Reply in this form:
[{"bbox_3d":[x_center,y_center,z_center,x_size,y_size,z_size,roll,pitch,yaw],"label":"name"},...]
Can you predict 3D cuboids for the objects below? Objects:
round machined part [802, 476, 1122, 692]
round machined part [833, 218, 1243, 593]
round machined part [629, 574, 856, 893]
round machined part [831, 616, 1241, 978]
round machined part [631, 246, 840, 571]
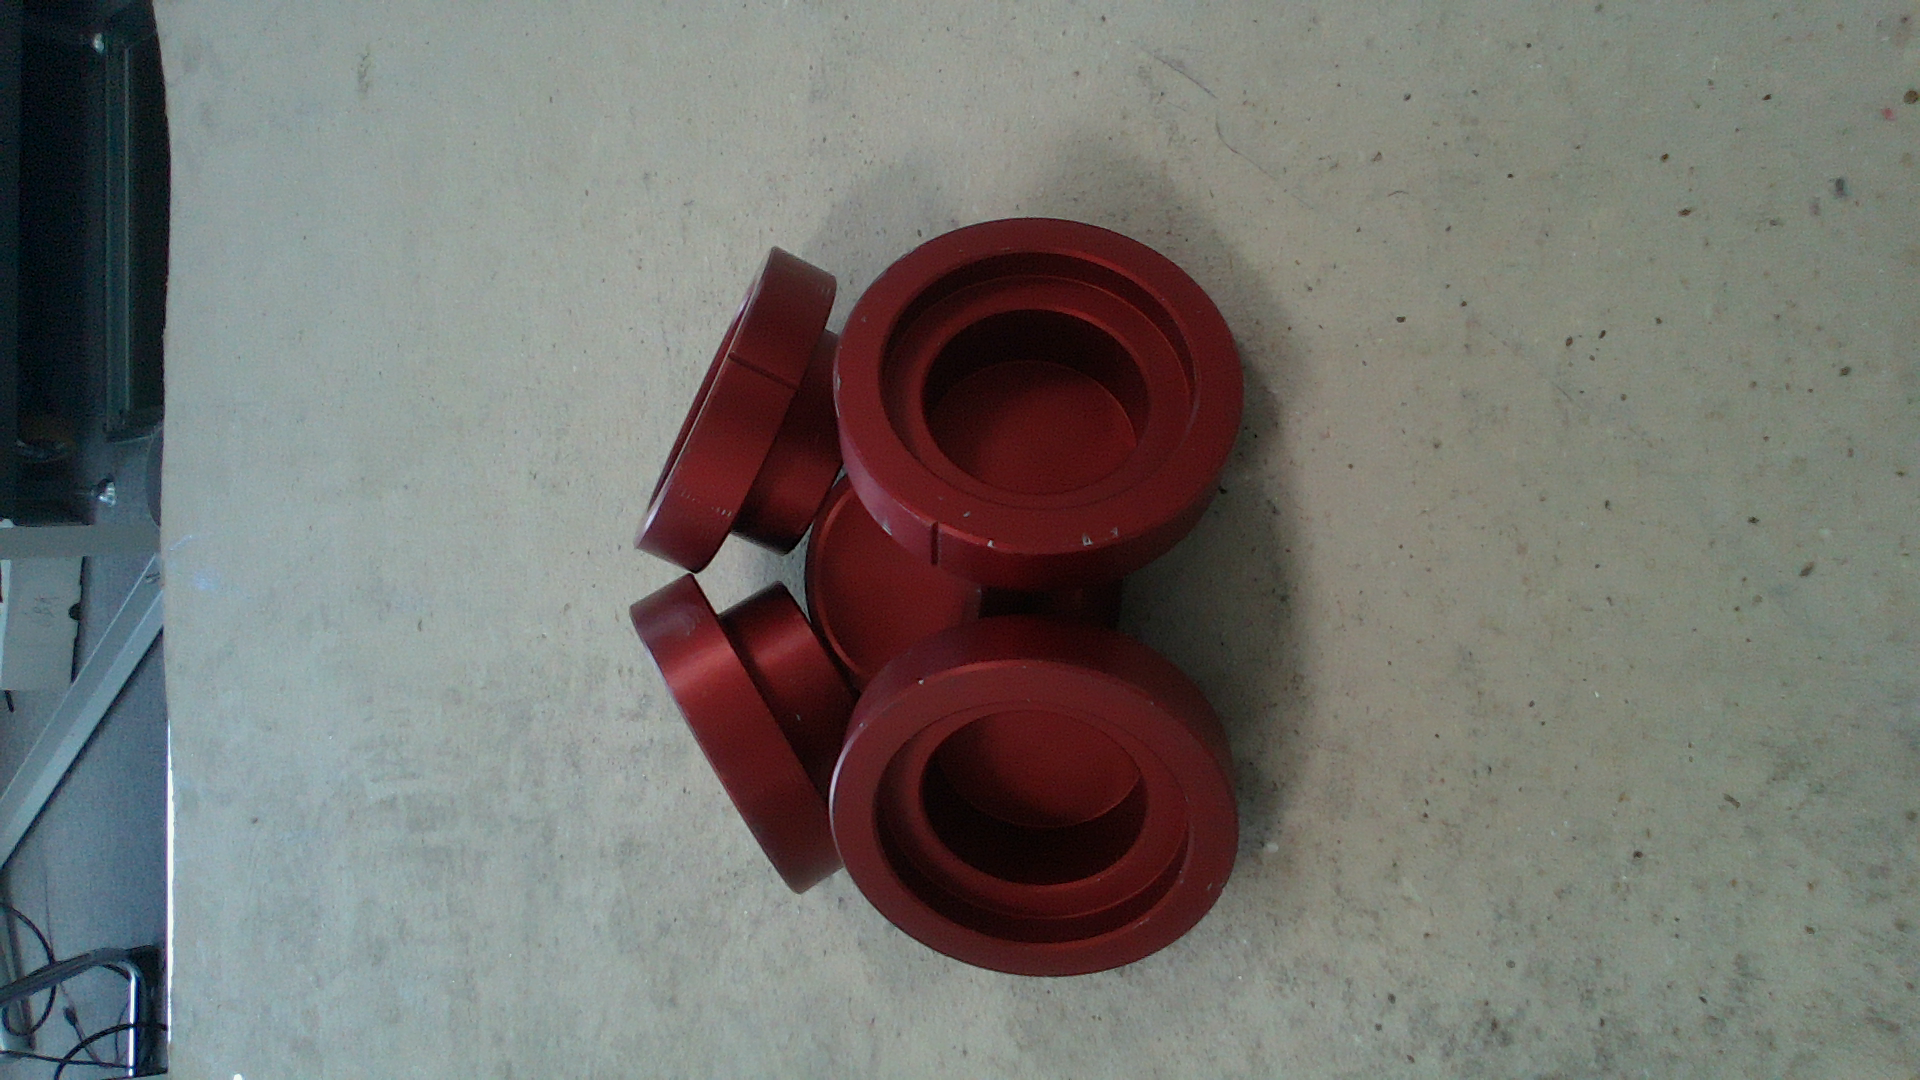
[{"bbox_3d":[-0.006,0.010,0.389,0.098,0.042,0.098,-2,87,39],"label":"round machined part"},{"bbox_3d":[0.018,-0.030,0.346,0.098,0.098,0.042,57,163,24],"label":"round machined part"},{"bbox_3d":[-0.055,0.051,0.407,0.042,0.098,0.098,-31,63,-11],"label":"round machined part"},{"bbox_3d":[0.020,0.060,0.346,0.098,0.042,0.098,3,120,6],"label":"round machined part"},{"bbox_3d":[-0.058,-0.034,0.412,0.098,0.042,0.098,-57,16,27],"label":"round machined part"}]
